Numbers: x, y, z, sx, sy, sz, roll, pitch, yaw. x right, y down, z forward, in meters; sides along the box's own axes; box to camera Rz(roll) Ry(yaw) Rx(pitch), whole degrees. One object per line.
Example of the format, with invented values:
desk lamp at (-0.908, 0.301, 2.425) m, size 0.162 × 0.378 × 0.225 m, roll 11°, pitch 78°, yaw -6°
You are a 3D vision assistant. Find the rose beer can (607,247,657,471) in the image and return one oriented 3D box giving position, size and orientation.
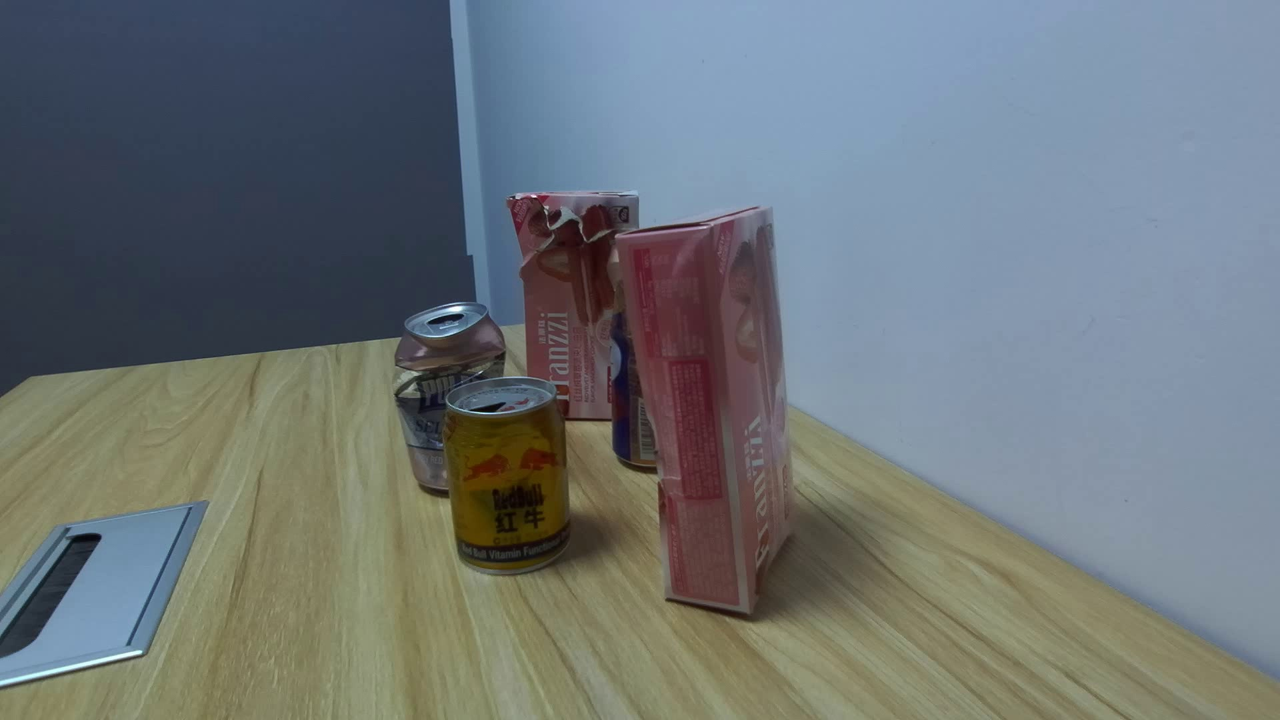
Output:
rose beer can at (0.013, -0.003, 0.487) m, size 0.068 × 0.161 × 0.073 m, roll -3°, pitch 6°, yaw -8°

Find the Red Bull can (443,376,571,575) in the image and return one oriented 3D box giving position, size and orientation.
Red Bull can at (-0.074, 0.062, 0.396) m, size 0.069 × 0.092 × 0.069 m, roll -1°, pitch 17°, yaw 1°

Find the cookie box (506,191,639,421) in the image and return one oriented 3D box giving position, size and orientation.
cookie box at (-0.044, -0.037, 0.556) m, size 0.105 × 0.186 × 0.059 m, roll -3°, pitch 0°, yaw 8°

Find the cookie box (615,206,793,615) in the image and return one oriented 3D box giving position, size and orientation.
cookie box at (0.040, 0.024, 0.360) m, size 0.048 × 0.187 × 0.105 m, roll -2°, pitch 14°, yaw 27°

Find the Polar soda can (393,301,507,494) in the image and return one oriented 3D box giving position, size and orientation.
Polar soda can at (-0.125, 0.028, 0.471) m, size 0.071 × 0.122 × 0.066 m, roll -9°, pitch 20°, yaw -24°
